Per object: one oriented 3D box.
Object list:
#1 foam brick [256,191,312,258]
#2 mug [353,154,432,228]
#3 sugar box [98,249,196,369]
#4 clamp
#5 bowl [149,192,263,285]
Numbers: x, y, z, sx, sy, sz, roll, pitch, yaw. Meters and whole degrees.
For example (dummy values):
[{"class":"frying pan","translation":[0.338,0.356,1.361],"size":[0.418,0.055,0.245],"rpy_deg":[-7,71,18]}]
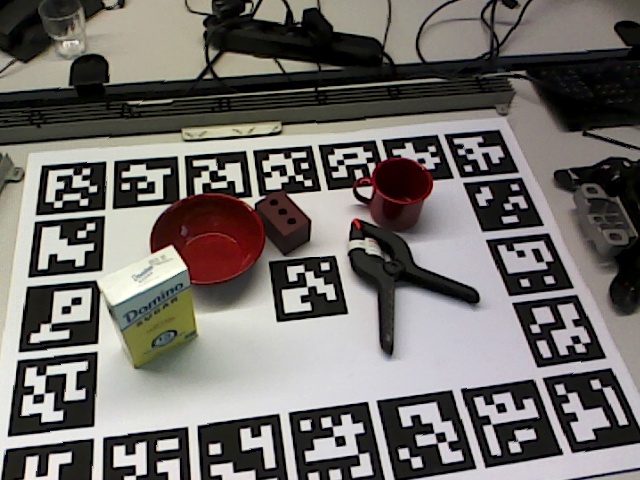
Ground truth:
[{"class":"foam brick","translation":[-0.056,-0.023,0.945],"size":[0.052,0.051,0.078],"rpy_deg":[-31,64,-22]},{"class":"mug","translation":[0.108,-0.076,0.964],"size":[0.117,0.081,0.093],"rpy_deg":[16,56,4]},{"class":"sugar box","translation":[-0.210,0.091,0.773],"size":[0.092,0.176,0.045],"rpy_deg":[-28,64,-23]},{"class":"clamp","translation":[0.098,0.043,0.904],"size":[0.165,0.036,0.204],"rpy_deg":[-28,62,-19]},{"class":"bowl","translation":[-0.165,0.008,0.907],"size":[0.161,0.055,0.162],"rpy_deg":[2,55,-3]}]
